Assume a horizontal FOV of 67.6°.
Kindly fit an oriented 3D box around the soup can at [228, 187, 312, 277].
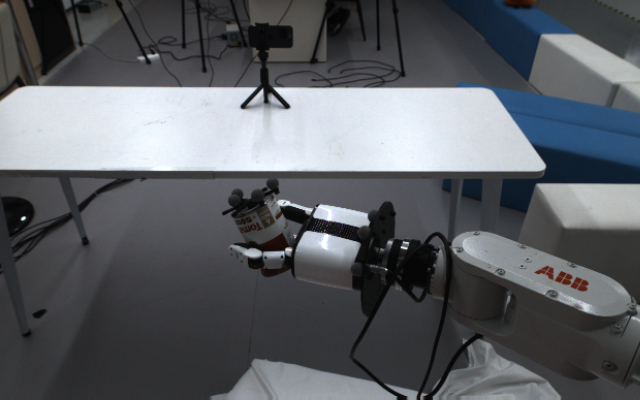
[{"bbox_3d":[-0.073,0.051,0.699,0.067,0.101,0.067,-23,16,7],"label":"soup can"}]
